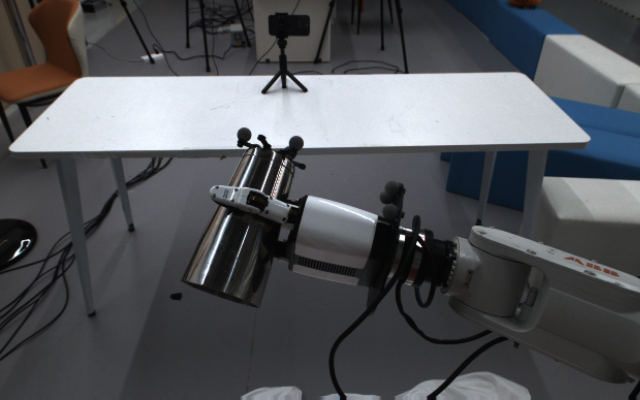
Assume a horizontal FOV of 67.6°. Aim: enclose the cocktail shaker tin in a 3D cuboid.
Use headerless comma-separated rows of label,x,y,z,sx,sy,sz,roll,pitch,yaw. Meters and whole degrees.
cocktail shaker tin,-0.087,0.028,0.561,0.093,0.093,0.170,13,70,15
